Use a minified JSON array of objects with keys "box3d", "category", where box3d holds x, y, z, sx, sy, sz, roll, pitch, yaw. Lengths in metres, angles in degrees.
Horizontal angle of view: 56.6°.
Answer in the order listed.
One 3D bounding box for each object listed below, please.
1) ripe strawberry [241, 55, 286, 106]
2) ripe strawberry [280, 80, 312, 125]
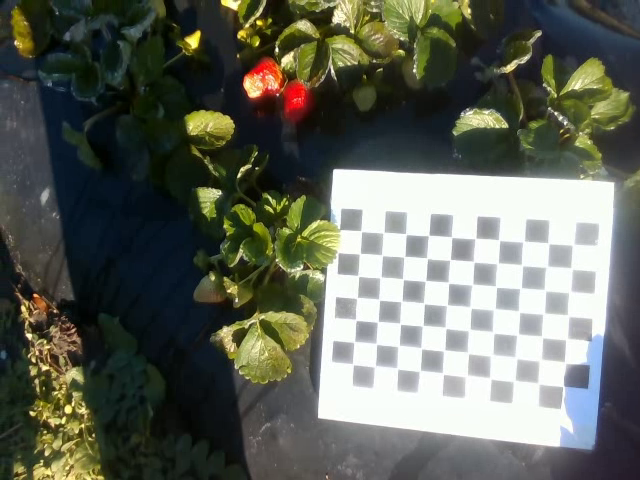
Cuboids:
[{"box3d":[-0.078,-0.215,0.805,0.070,0.052,0.040,-40,1,1],"category":"ripe strawberry"},{"box3d":[-0.033,-0.189,0.787,0.044,0.059,0.040,4,-4,10],"category":"ripe strawberry"}]
